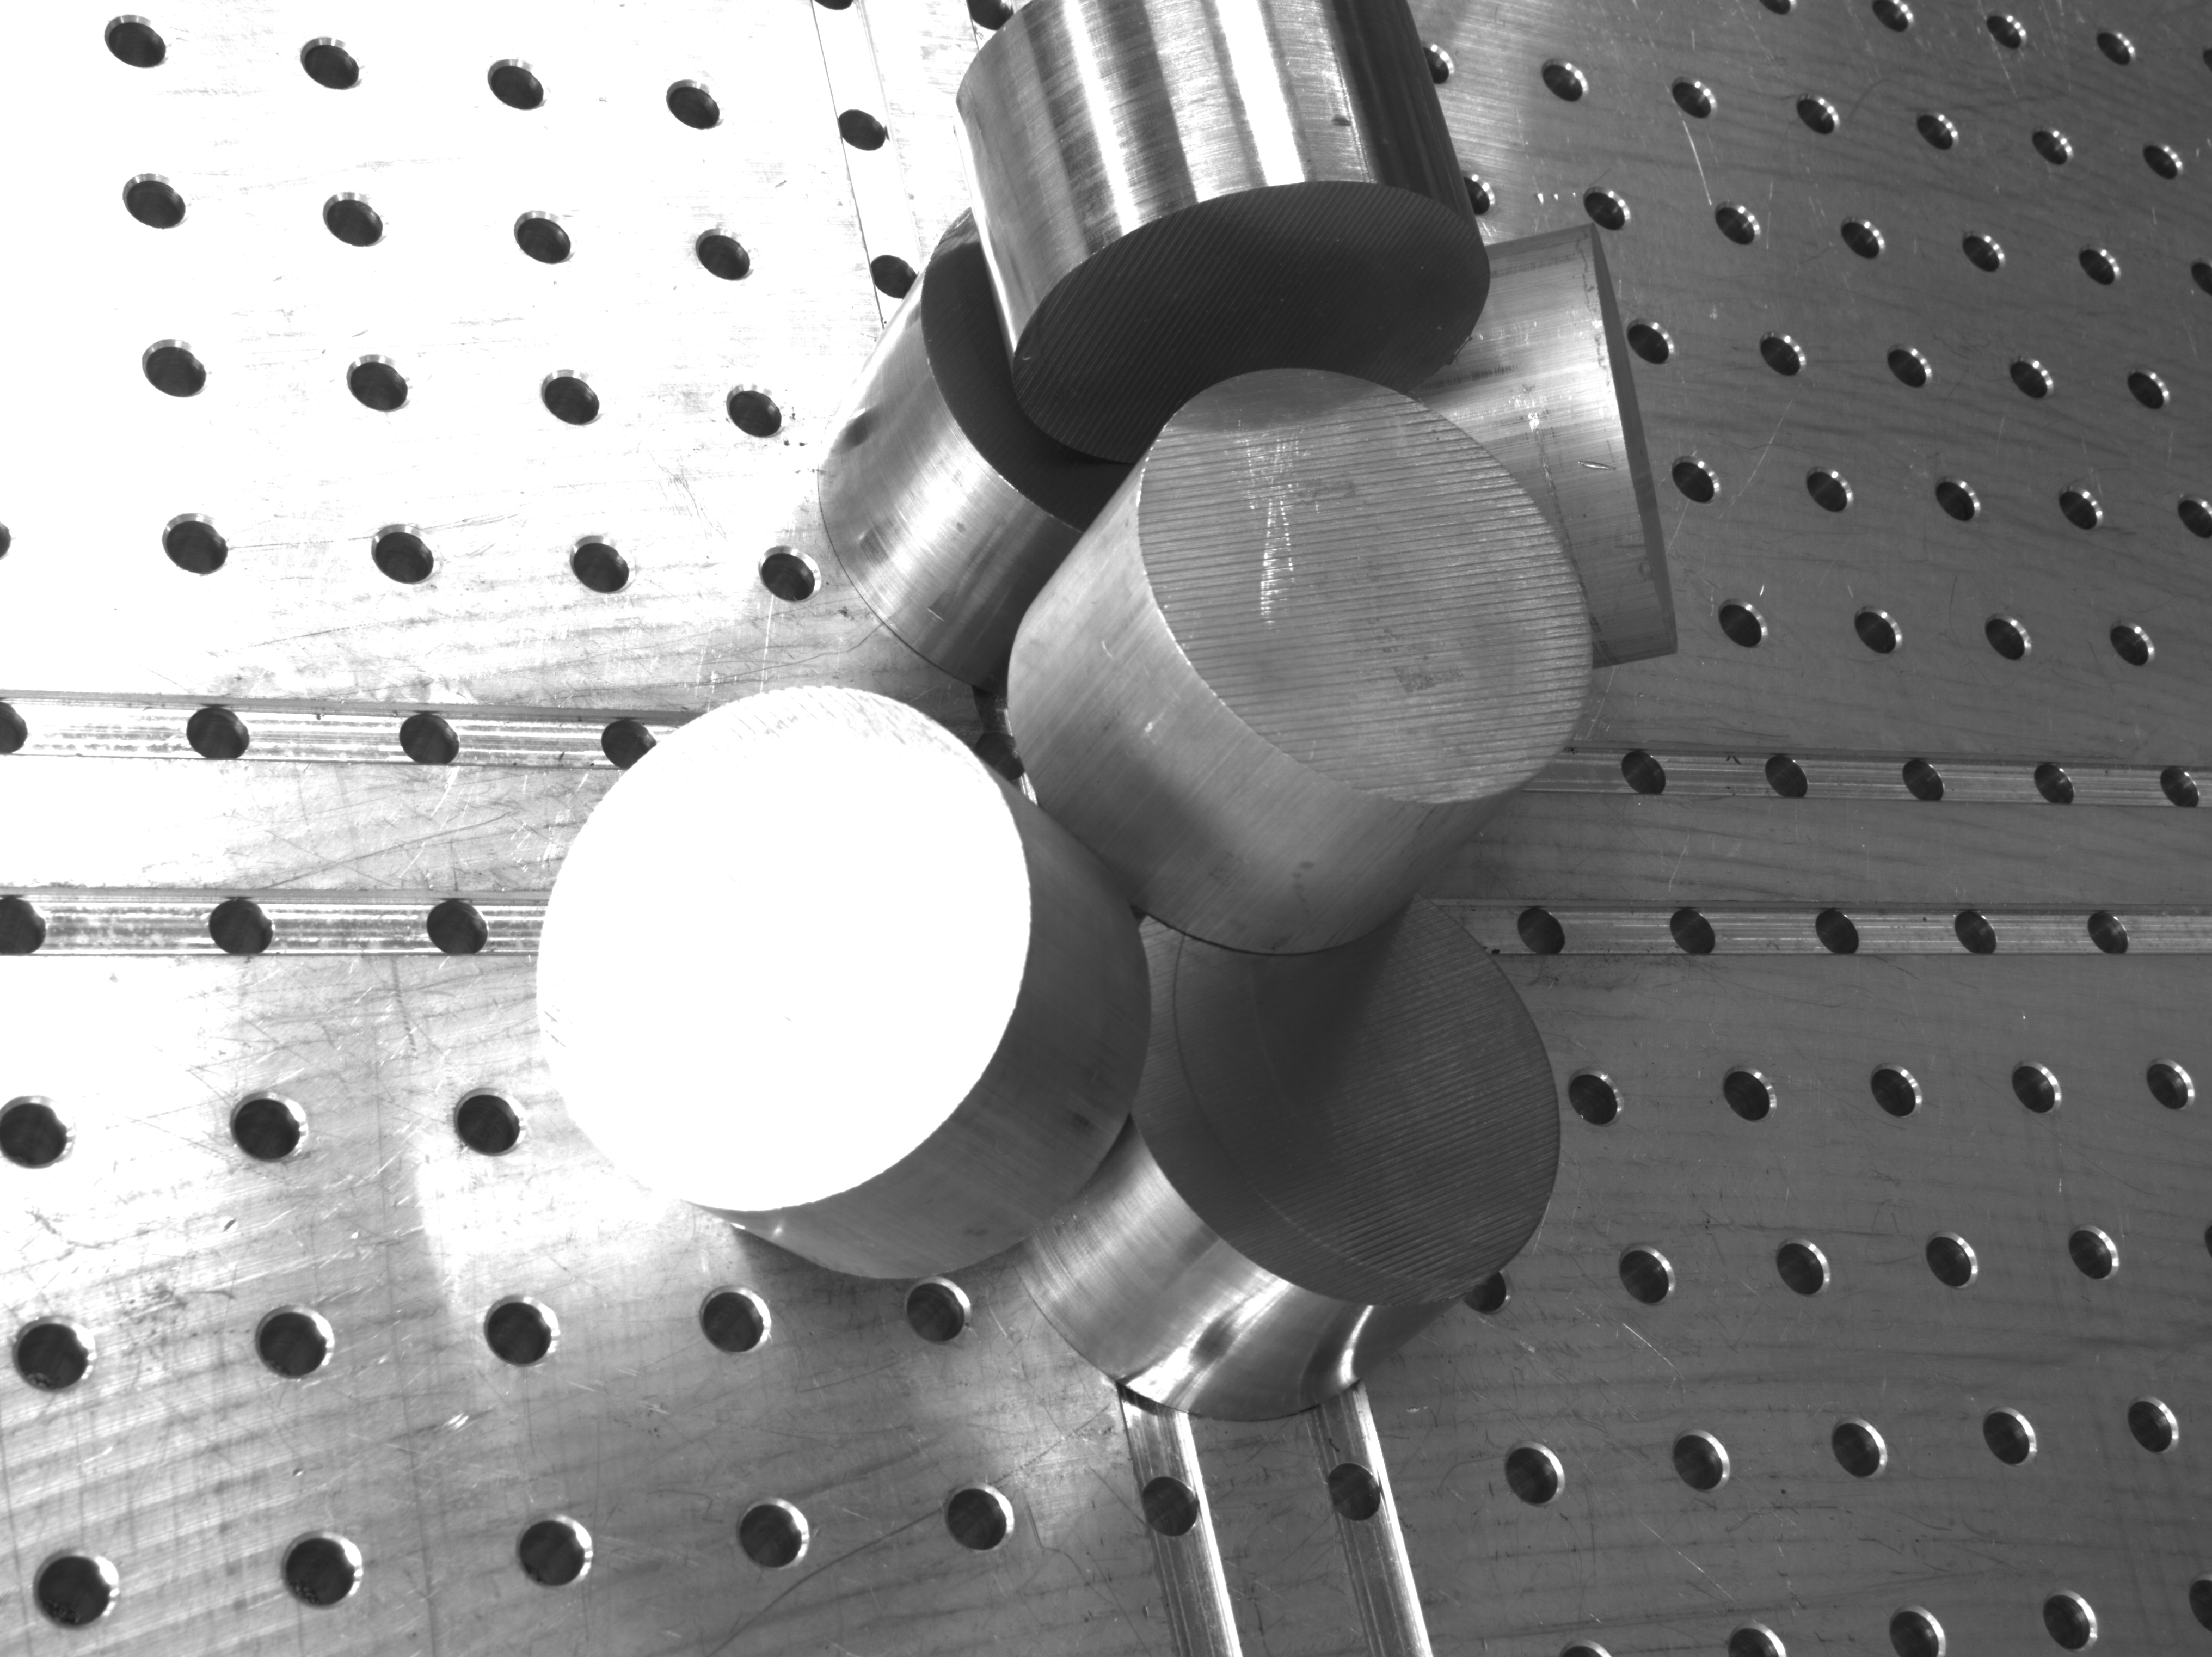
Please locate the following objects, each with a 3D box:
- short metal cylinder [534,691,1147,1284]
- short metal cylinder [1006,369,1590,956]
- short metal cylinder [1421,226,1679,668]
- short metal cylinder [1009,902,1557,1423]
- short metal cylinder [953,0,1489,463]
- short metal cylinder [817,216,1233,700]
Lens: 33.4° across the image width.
[{"bbox_3d":[-0.040,0.025,0.564,0.050,0.080,0.080,42,29,-63],"label":"short metal cylinder"},{"bbox_3d":[0.030,-0.026,0.594,0.080,0.050,0.080,13,56,-21],"label":"short metal cylinder"},{"bbox_3d":[0.073,-0.066,0.678,0.050,0.080,0.080,-11,59,12],"label":"short metal cylinder"},{"bbox_3d":[0.027,0.052,0.609,0.080,0.050,0.080,13,57,-21],"label":"short metal cylinder"},{"bbox_3d":[0.019,-0.104,0.615,0.080,0.080,0.050,1,61,-28],"label":"short metal cylinder"},{"bbox_3d":[-0.006,-0.068,0.665,0.080,0.050,0.080,13,57,-21],"label":"short metal cylinder"}]
